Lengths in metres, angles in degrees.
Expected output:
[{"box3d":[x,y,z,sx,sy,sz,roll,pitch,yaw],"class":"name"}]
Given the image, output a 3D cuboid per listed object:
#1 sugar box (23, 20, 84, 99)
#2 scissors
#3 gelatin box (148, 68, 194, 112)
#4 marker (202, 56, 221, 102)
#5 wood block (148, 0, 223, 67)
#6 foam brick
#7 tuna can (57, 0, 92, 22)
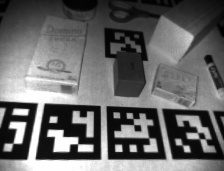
[{"box3d":[-0.115,-0.059,0.454,0.093,0.045,0.175,7,57,-8],"class":"sugar box"},{"box3d":[0.074,-0.193,0.592,0.203,0.016,0.087,8,57,-4],"class":"scissors"},{"box3d":[0.129,0.007,0.470,0.089,0.030,0.073,19,57,1],"class":"gelatin box"},{"box3d":[0.235,-0.020,0.512,0.020,0.019,0.120,4,60,-8],"class":"marker"},{"box3d":[0.197,-0.152,0.551,0.089,0.091,0.207,40,59,15],"class":"wood block"},{"box3d":[0.028,-0.013,0.444,0.053,0.051,0.077,4,58,-8],"class":"foam brick"},{"box3d":[-0.095,-0.200,0.548,0.086,0.034,0.085,5,58,-8],"class":"tuna can"}]
